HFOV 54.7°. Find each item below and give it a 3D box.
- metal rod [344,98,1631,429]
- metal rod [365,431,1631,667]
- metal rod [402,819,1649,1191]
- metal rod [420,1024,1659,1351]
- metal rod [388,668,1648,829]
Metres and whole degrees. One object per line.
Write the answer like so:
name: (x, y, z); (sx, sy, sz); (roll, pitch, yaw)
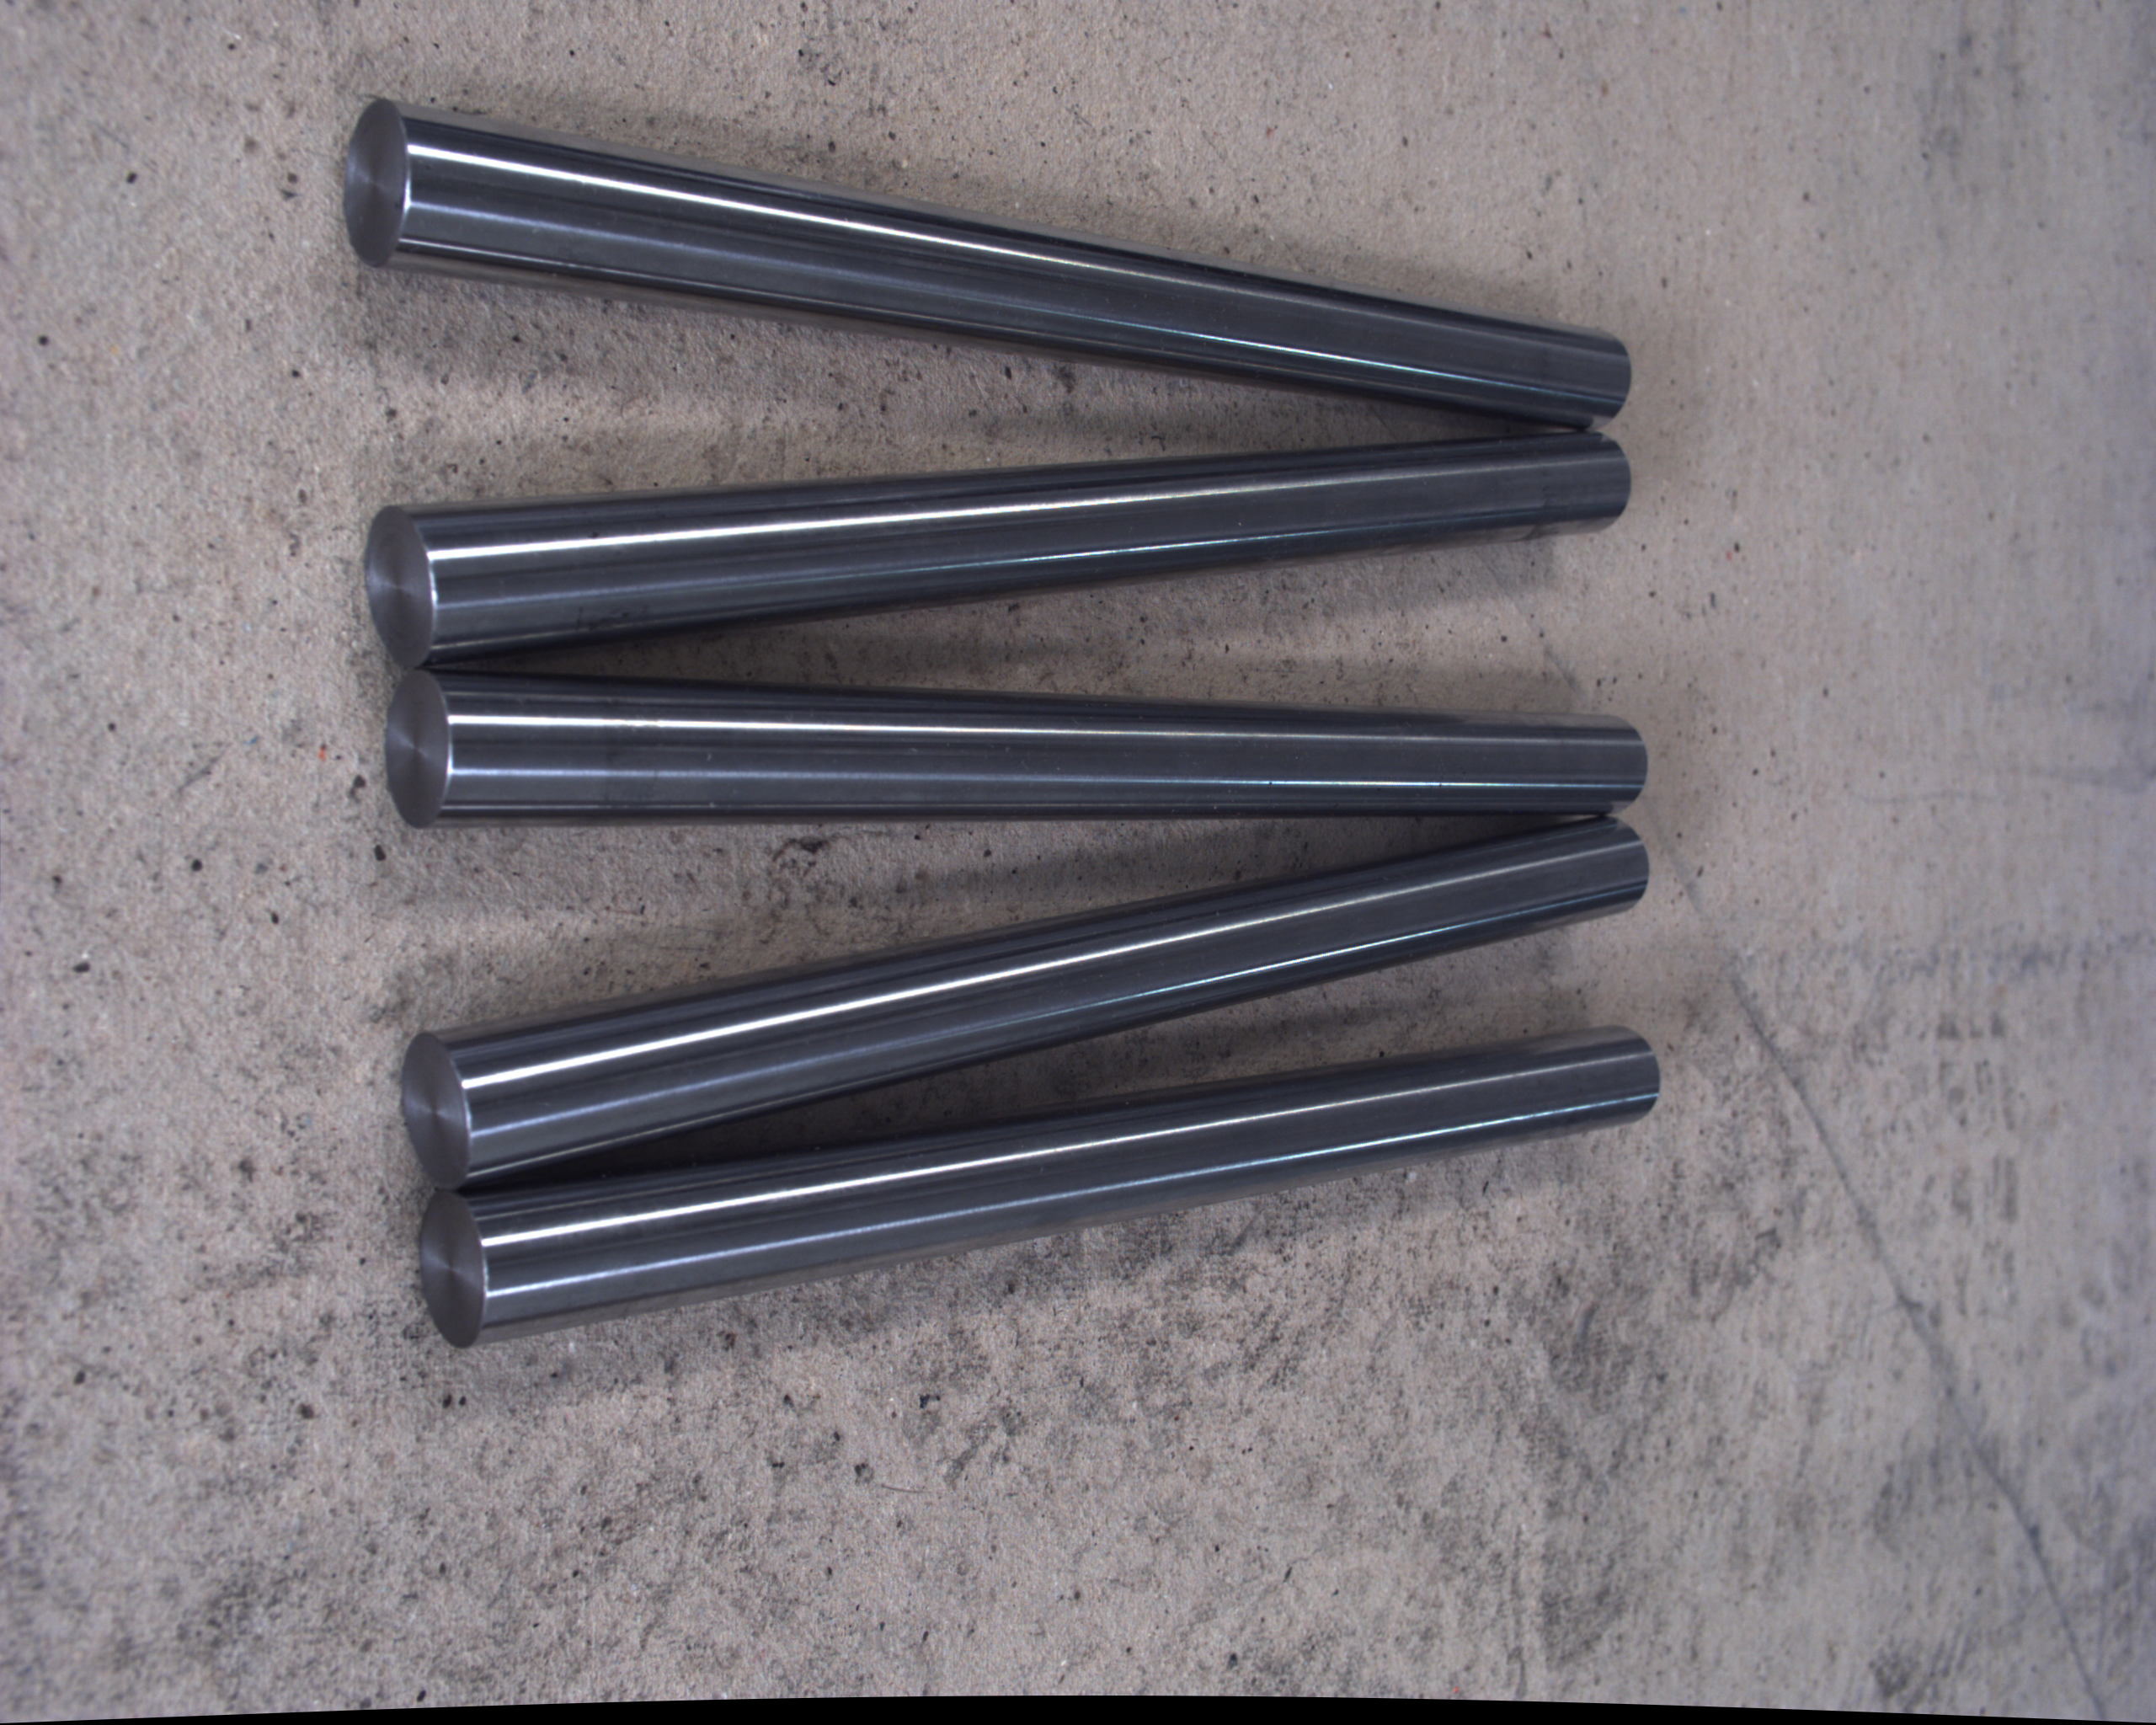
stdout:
metal rod: (0.009, -0.110, 0.414); (0.302, 0.025, 0.025); (-4, 93, -40)
metal rod: (0.010, -0.068, 0.415); (0.302, 0.025, 0.025); (-13, 98, -39)
metal rod: (0.015, 0.020, 0.419); (0.302, 0.025, 0.025); (-9, 96, -40)
metal rod: (0.018, 0.058, 0.422); (0.302, 0.025, 0.025); (-3, 92, -40)
metal rod: (0.014, -0.021, 0.418); (0.302, 0.025, 0.025); (-2, 91, -40)
